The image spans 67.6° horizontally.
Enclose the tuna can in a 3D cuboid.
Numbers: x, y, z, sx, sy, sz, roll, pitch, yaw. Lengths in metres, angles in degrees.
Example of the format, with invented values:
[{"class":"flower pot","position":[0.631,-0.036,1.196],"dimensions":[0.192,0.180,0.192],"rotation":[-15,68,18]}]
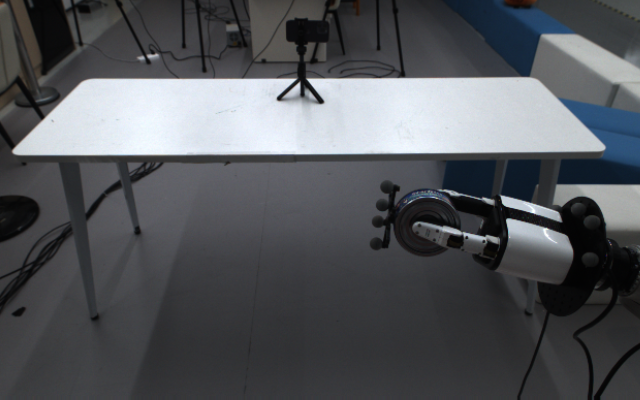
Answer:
[{"class":"tuna can","position":[0.140,0.027,0.633],"dimensions":[0.085,0.085,0.034],"rotation":[4,17,3]}]
